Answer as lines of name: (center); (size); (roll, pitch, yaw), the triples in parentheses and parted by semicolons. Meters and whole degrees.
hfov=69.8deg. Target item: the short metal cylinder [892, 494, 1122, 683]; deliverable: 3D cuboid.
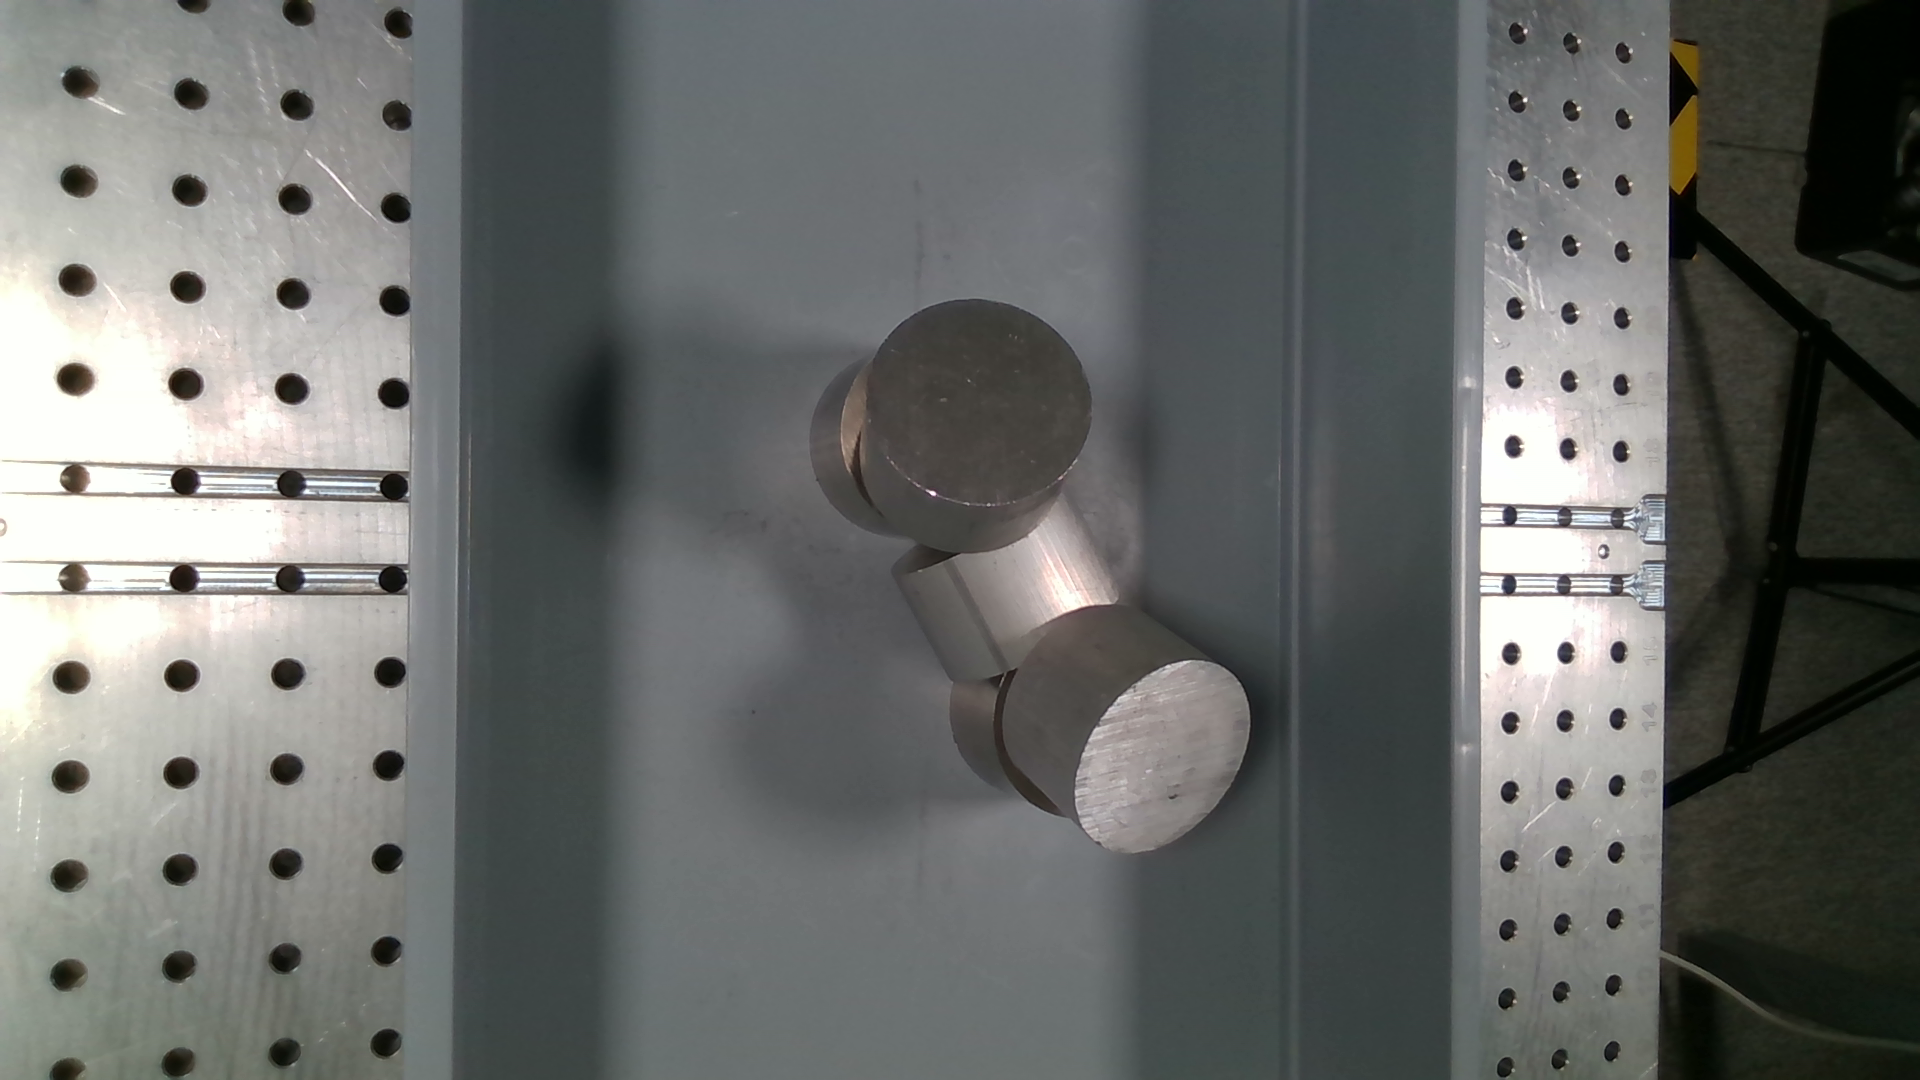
short metal cylinder: (0.019, 0.016, 0.562); (0.080, 0.080, 0.050); (-31, 100, -18)

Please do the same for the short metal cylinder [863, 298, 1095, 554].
short metal cylinder: (0.005, -0.041, 0.504); (0.080, 0.050, 0.080); (2, 70, -7)

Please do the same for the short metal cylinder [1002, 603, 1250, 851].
short metal cylinder: (0.063, 0.071, 0.526); (0.080, 0.050, 0.080); (-14, 119, -27)

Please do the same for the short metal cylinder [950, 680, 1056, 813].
short metal cylinder: (0.042, 0.073, 0.587); (0.080, 0.050, 0.080); (0, 90, -20)

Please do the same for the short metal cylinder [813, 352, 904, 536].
short metal cylinder: (-0.017, -0.042, 0.565); (0.080, 0.050, 0.080); (0, 90, -20)
